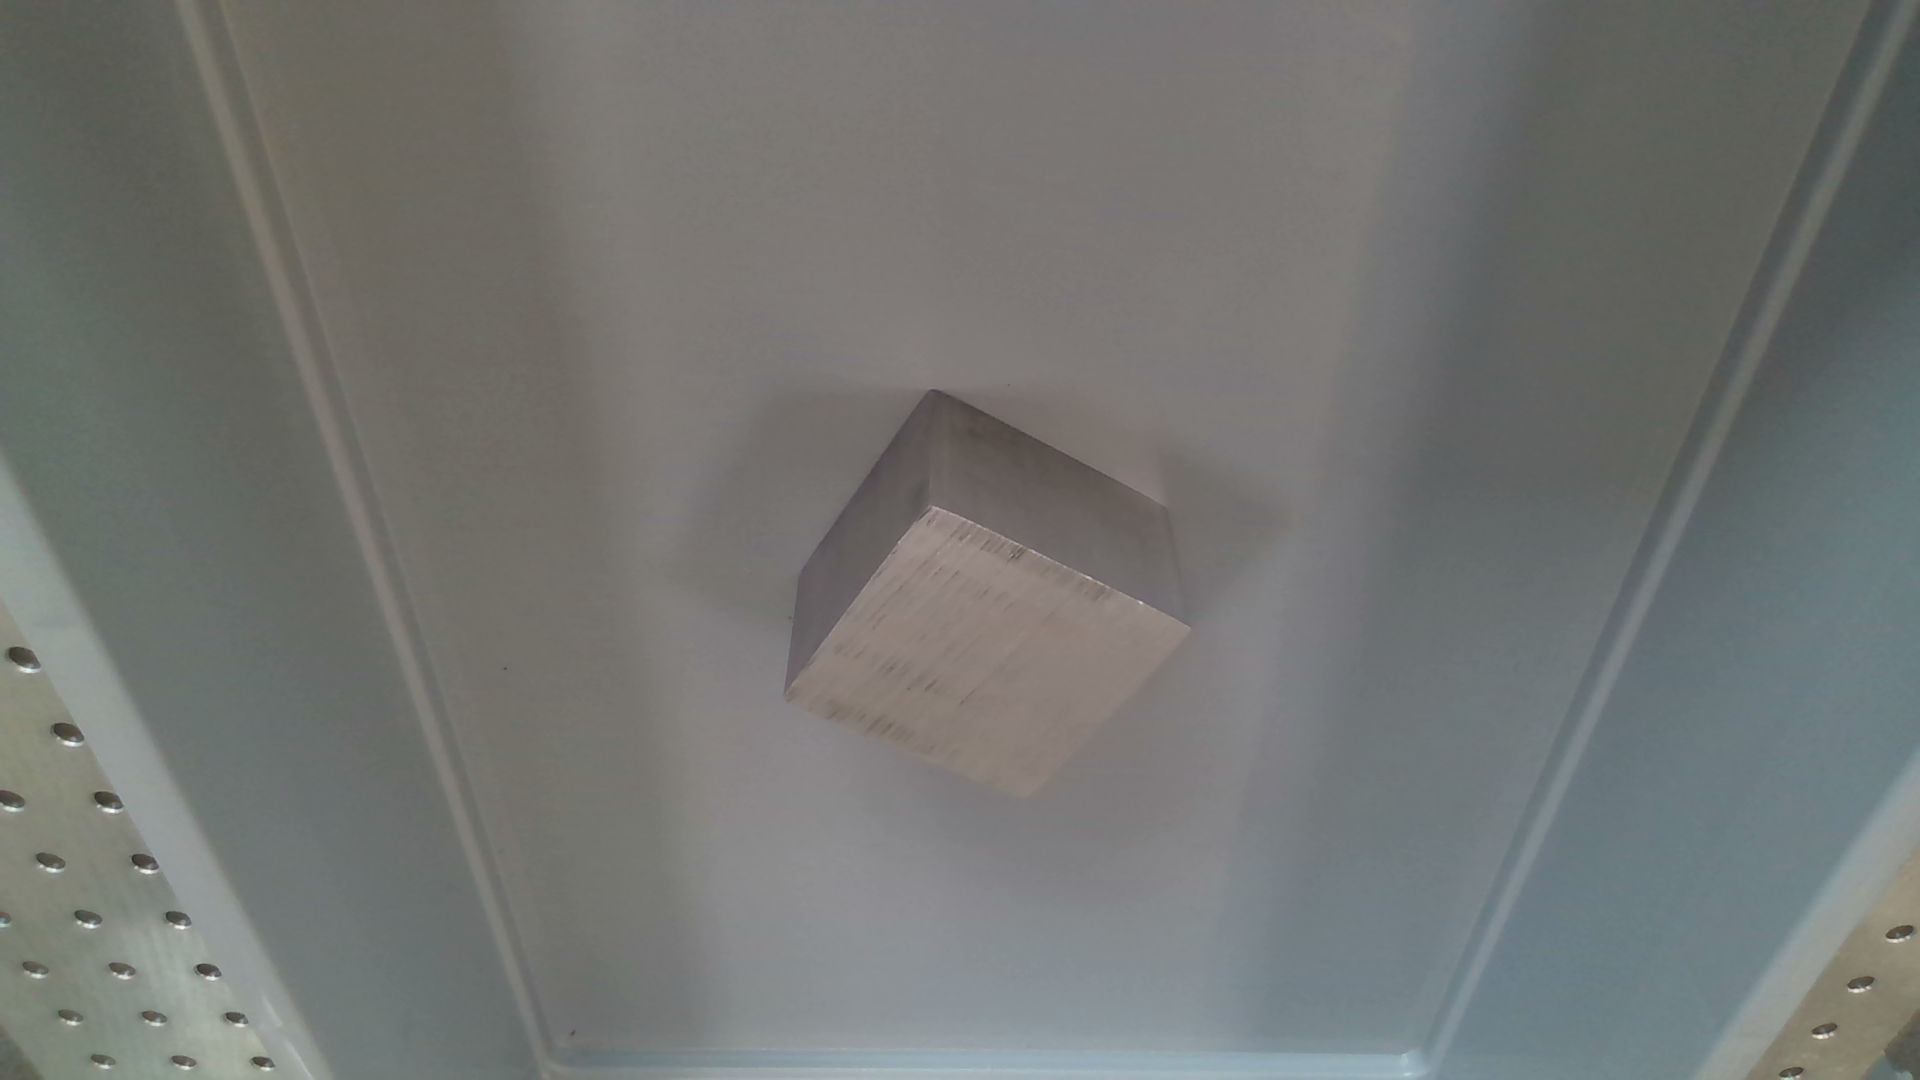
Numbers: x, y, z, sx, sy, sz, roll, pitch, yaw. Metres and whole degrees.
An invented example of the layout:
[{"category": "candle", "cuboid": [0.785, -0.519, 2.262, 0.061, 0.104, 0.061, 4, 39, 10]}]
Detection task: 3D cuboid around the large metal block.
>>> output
[{"category": "large metal block", "cuboid": [0.006, 0.017, 0.382, 0.080, 0.050, 0.080, 25, 126, -20]}]
